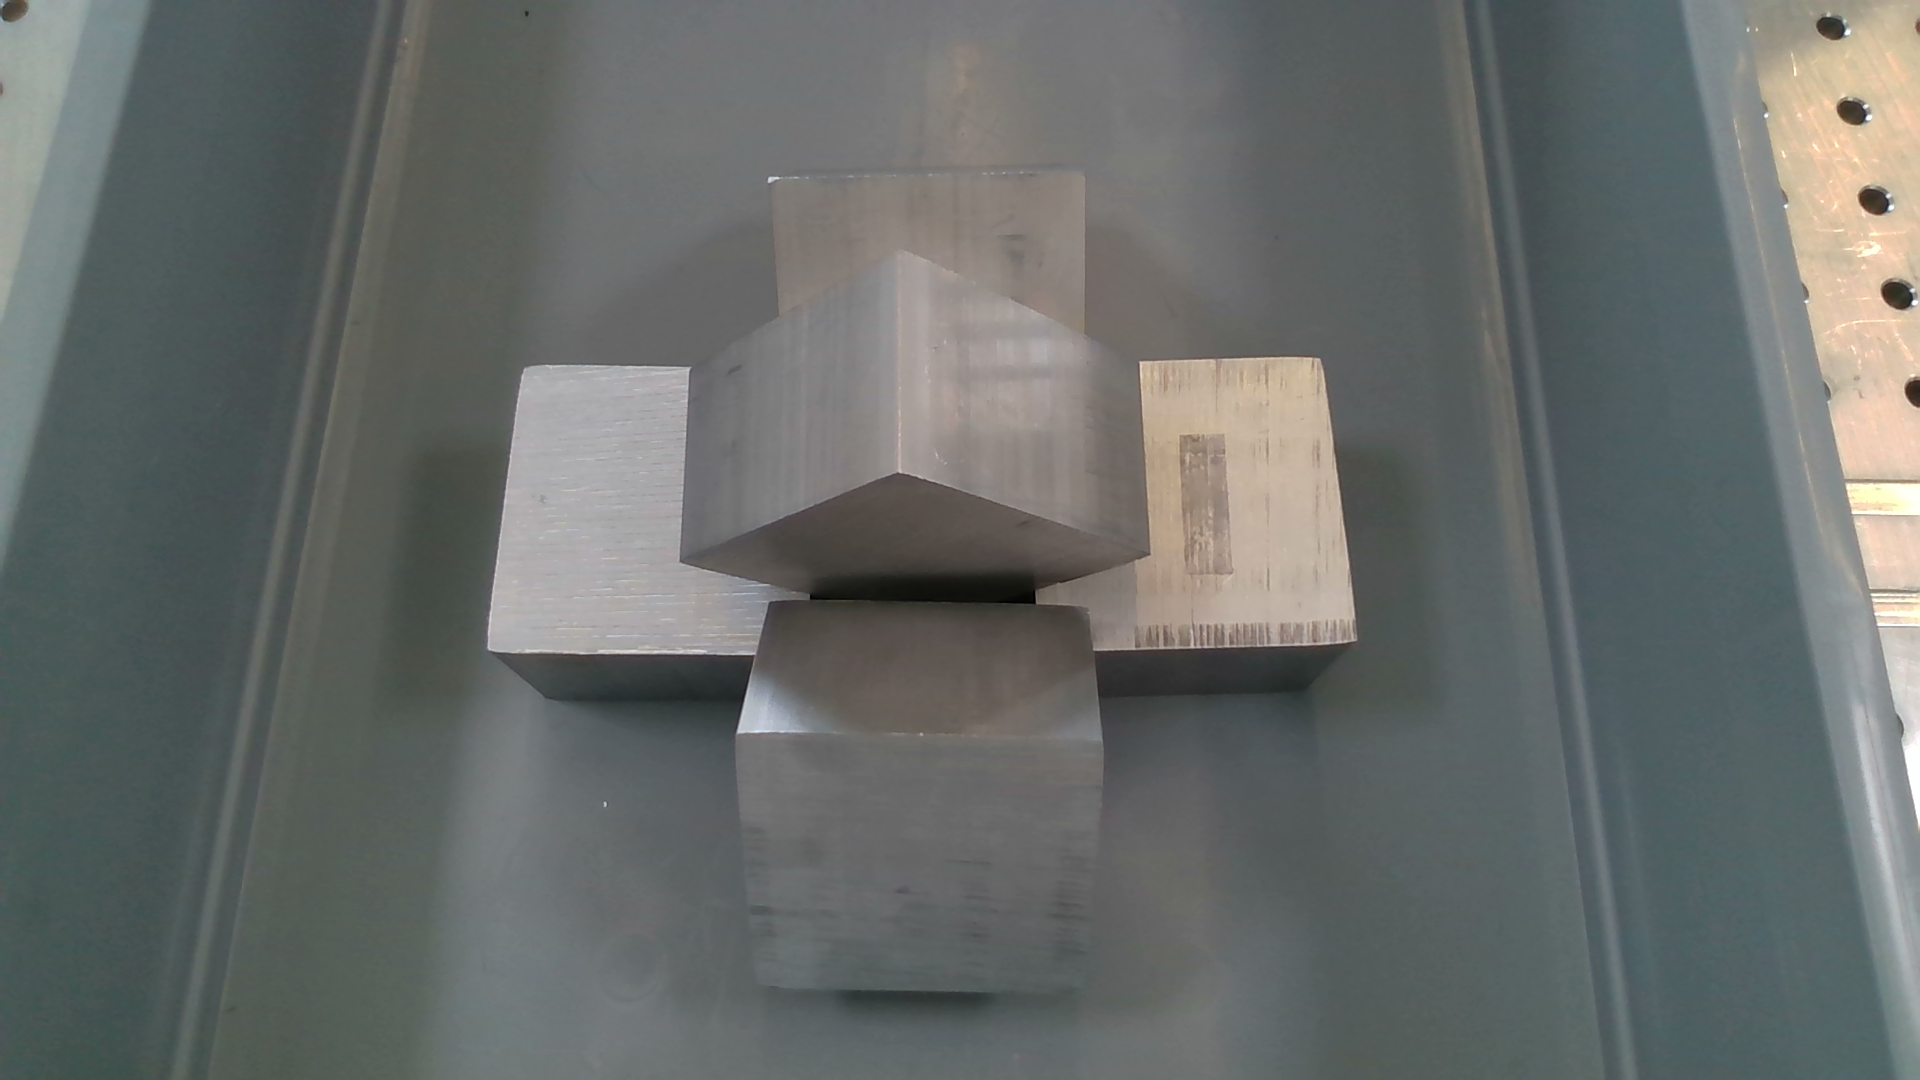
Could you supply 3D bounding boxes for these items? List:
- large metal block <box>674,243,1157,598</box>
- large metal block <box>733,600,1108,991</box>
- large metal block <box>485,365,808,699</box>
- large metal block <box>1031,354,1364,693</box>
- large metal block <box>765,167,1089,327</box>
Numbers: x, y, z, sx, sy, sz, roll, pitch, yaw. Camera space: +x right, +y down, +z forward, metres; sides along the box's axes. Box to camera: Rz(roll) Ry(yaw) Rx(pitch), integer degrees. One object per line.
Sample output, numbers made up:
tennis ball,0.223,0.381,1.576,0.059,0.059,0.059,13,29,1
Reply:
large metal block,-0.011,-0.020,0.330,0.080,0.080,0.050,16,65,-41
large metal block,-0.008,0.062,0.336,0.080,0.080,0.050,1,32,1
large metal block,-0.079,-0.001,0.382,0.080,0.050,0.080,1,70,0
large metal block,0.060,-0.003,0.380,0.080,0.050,0.080,-2,70,0
large metal block,-0.008,-0.078,0.385,0.080,0.080,0.050,-2,107,0
